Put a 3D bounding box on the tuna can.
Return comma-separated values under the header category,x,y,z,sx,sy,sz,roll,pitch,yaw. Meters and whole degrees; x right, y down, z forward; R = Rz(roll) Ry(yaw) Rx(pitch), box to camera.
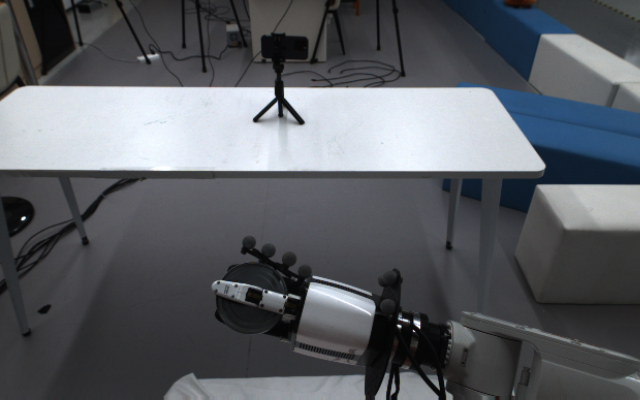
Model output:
category,x,y,z,sx,sy,sz,roll,pitch,yaw
tuna can,-0.079,0.120,0.591,0.085,0.034,0.085,0,72,0
